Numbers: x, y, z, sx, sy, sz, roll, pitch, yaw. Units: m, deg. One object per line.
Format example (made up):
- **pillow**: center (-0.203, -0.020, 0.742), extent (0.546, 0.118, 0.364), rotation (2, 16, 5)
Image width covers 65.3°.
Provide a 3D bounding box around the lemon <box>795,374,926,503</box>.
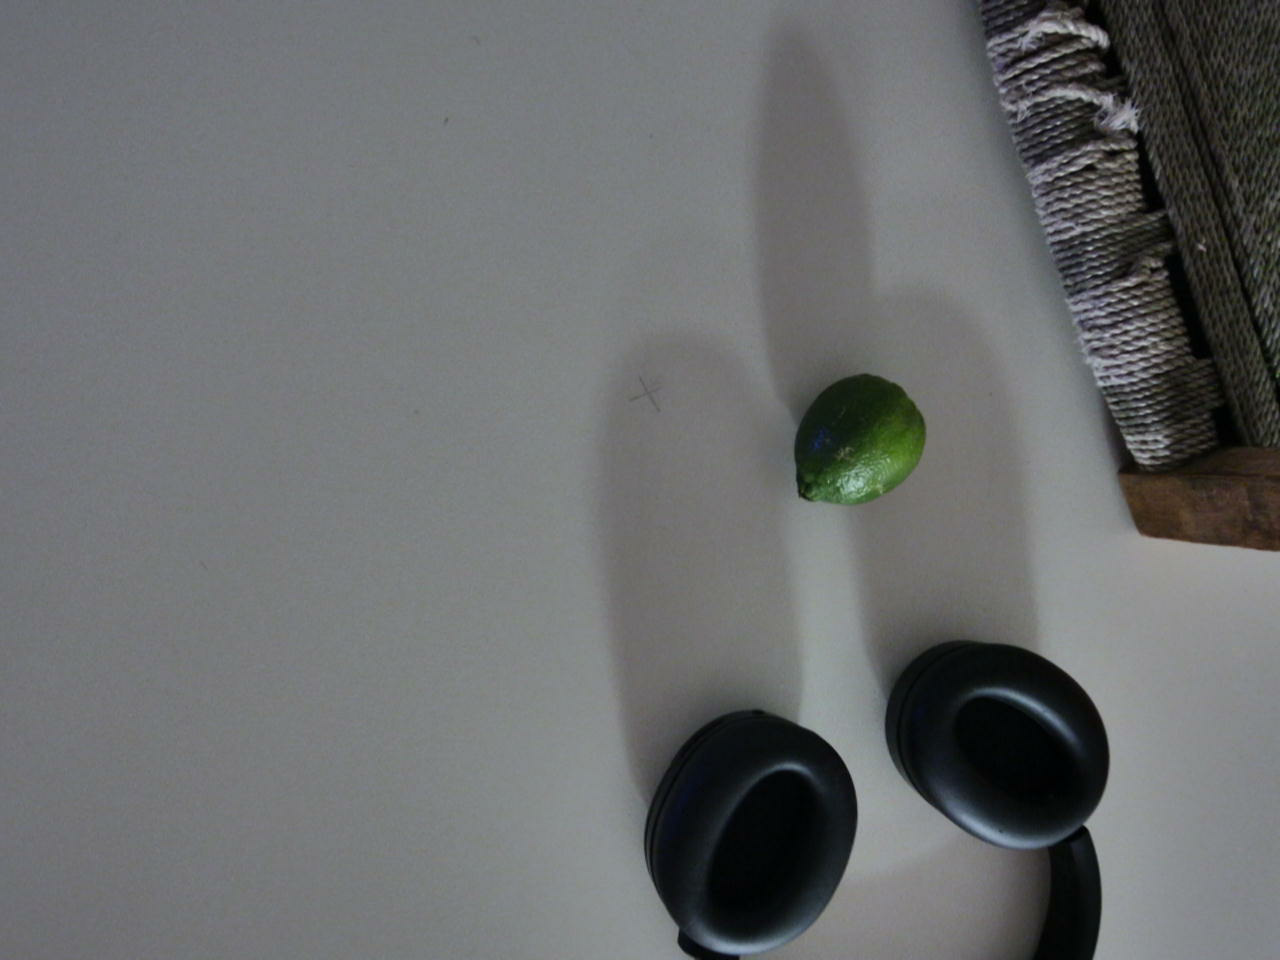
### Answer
- **lemon**: center (0.096, -0.018, 0.437), extent (0.054, 0.051, 0.057), rotation (6, 89, -12)
